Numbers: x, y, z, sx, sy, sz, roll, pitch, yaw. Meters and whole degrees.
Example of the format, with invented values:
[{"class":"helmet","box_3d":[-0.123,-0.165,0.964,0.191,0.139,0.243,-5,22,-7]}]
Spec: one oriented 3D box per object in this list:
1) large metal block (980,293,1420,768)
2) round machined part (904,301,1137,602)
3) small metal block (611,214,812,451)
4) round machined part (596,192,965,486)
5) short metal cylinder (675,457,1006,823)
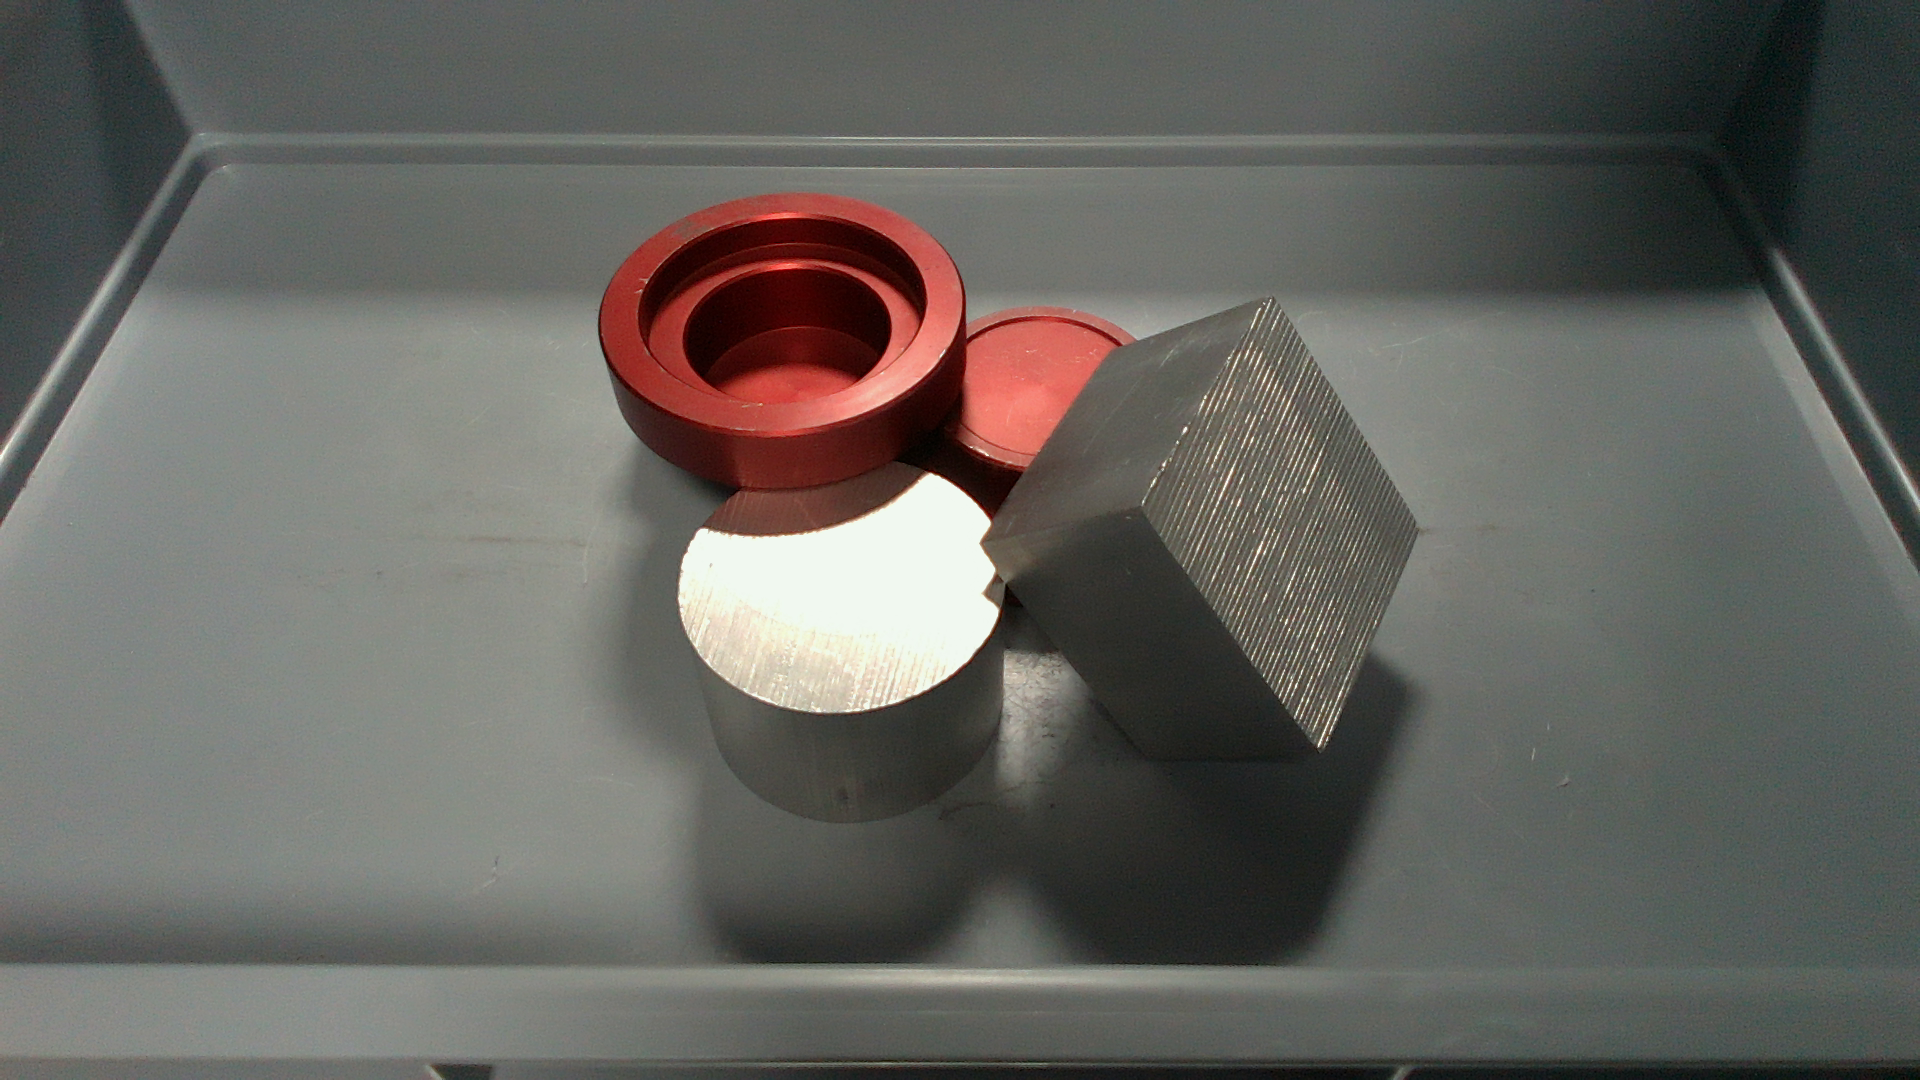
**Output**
[{"class":"large metal block","box_3d":[0.064,-0.001,0.346,0.050,0.080,0.080,-13,33,47]},{"class":"round machined part","box_3d":[0.024,-0.032,0.404,0.098,0.042,0.098,0,50,0]},{"class":"small metal block","box_3d":[-0.075,-0.064,0.427,0.025,0.050,0.050,36,59,27]},{"class":"round machined part","box_3d":[-0.048,-0.051,0.383,0.098,0.042,0.098,0,50,0]},{"class":"short metal cylinder","box_3d":[-0.029,0.024,0.353,0.080,0.050,0.080,0,50,0]}]
